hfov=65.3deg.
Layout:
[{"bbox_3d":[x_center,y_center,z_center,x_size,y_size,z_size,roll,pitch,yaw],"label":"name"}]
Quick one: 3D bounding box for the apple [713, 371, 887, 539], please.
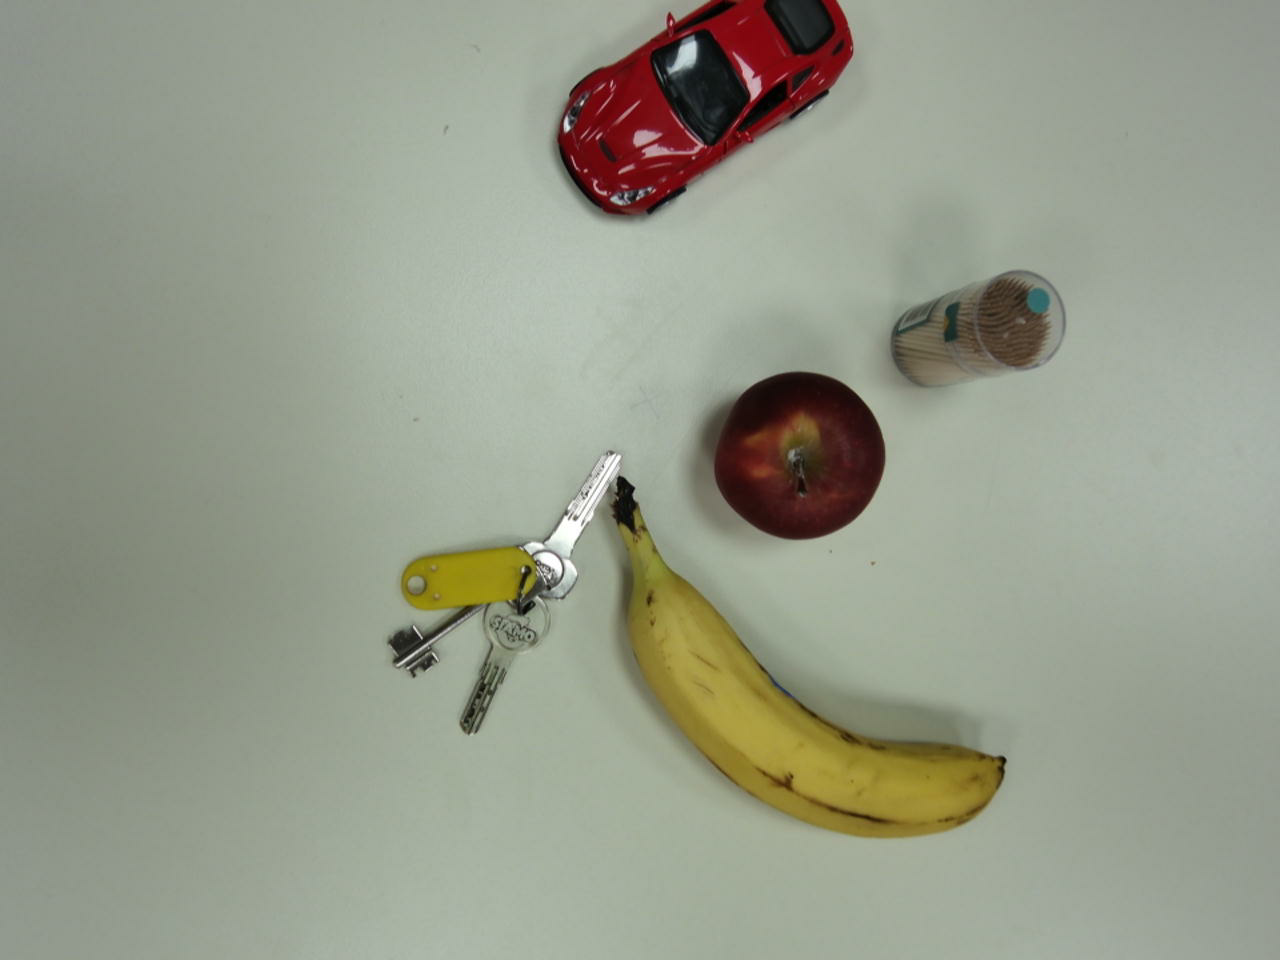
[{"bbox_3d":[0.066,-0.010,0.415,0.070,0.072,0.070,0,90,-12],"label":"apple"}]
